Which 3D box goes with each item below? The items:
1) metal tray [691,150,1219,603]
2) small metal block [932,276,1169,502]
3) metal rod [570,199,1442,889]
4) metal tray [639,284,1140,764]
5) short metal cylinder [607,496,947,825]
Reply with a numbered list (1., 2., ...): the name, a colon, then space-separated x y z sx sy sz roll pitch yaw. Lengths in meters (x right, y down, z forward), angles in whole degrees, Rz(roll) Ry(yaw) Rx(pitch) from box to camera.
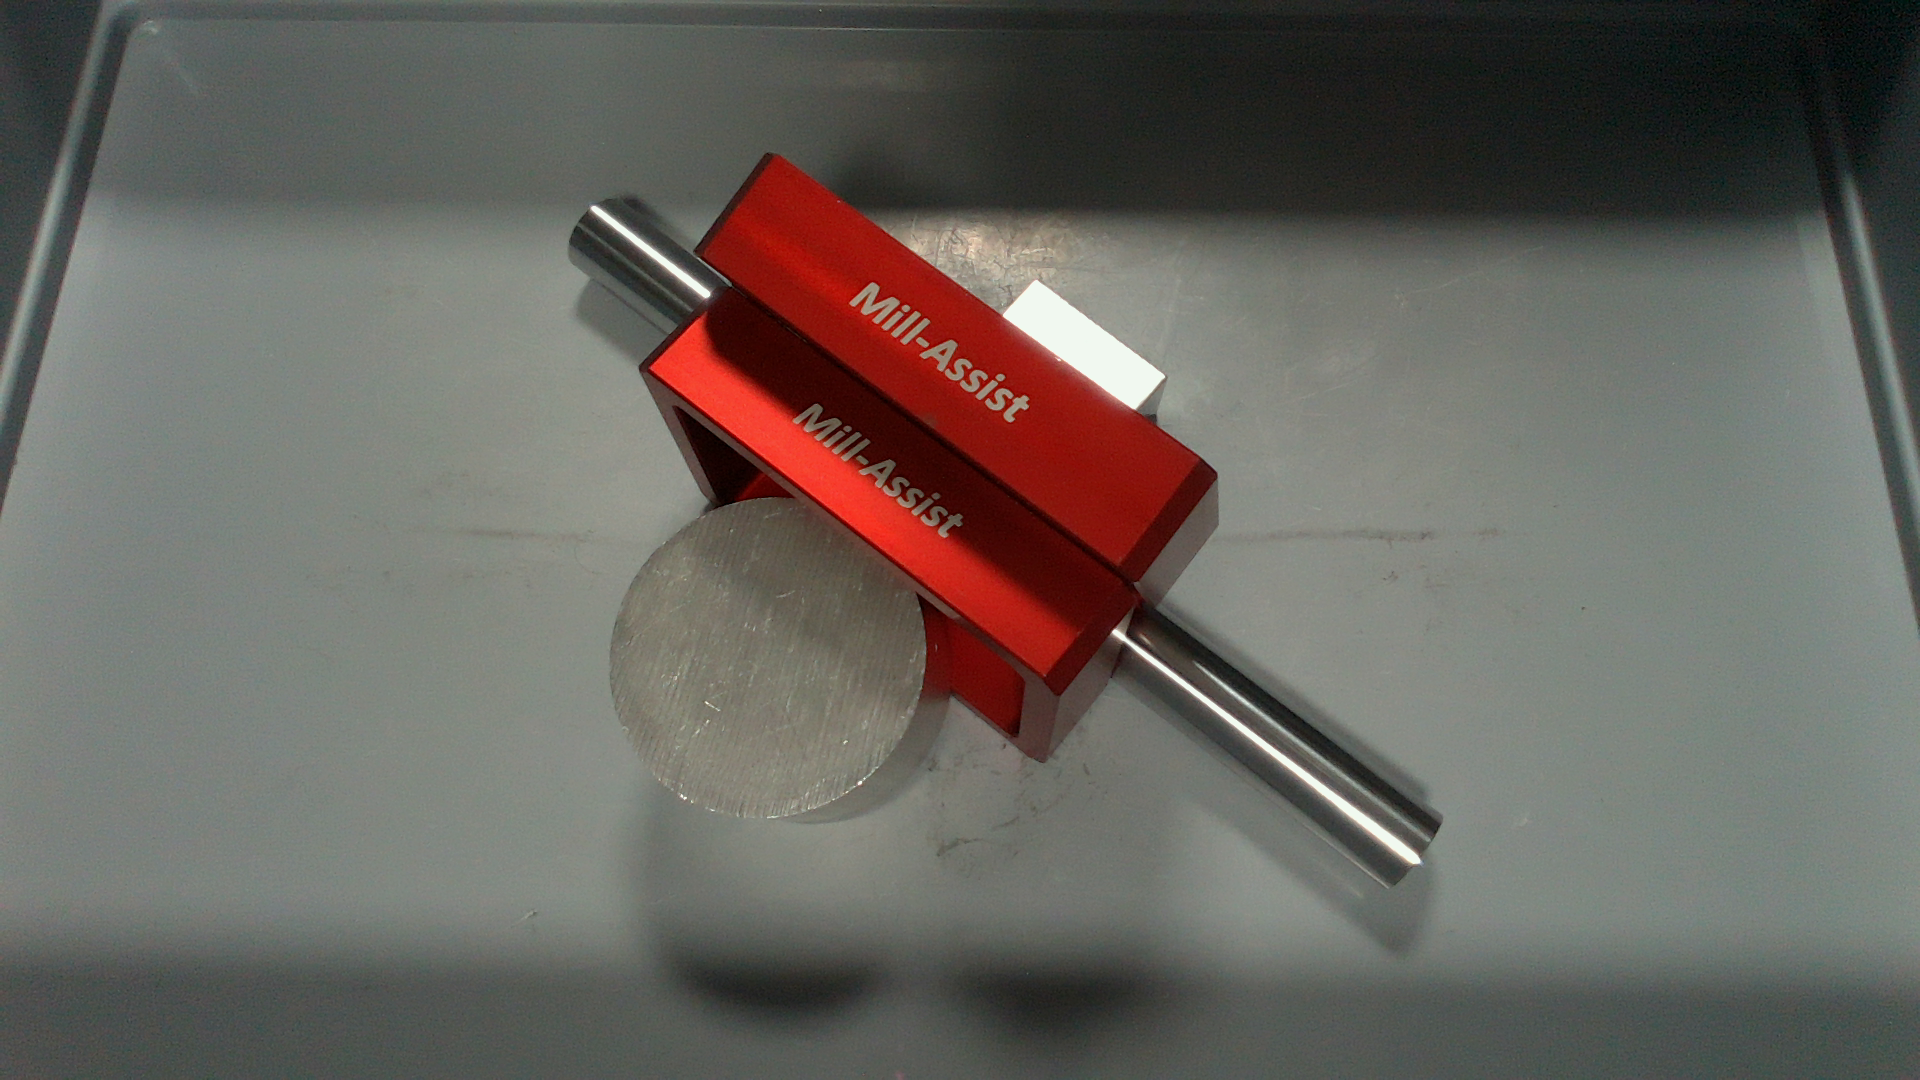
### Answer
1. metal tray: 0.004 -0.036 0.345 0.130 0.090 0.030 37 91 13
2. small metal block: 0.025 -0.041 0.408 0.050 0.025 0.050 39 74 13
3. metal rod: 0.004 -0.006 0.397 0.300 0.025 0.025 37 74 12
4. metal tray: -0.018 -0.001 0.359 0.130 0.090 0.030 37 74 13
5. short metal cylinder: -0.045 0.034 0.362 0.080 0.050 0.080 -1 77 5
